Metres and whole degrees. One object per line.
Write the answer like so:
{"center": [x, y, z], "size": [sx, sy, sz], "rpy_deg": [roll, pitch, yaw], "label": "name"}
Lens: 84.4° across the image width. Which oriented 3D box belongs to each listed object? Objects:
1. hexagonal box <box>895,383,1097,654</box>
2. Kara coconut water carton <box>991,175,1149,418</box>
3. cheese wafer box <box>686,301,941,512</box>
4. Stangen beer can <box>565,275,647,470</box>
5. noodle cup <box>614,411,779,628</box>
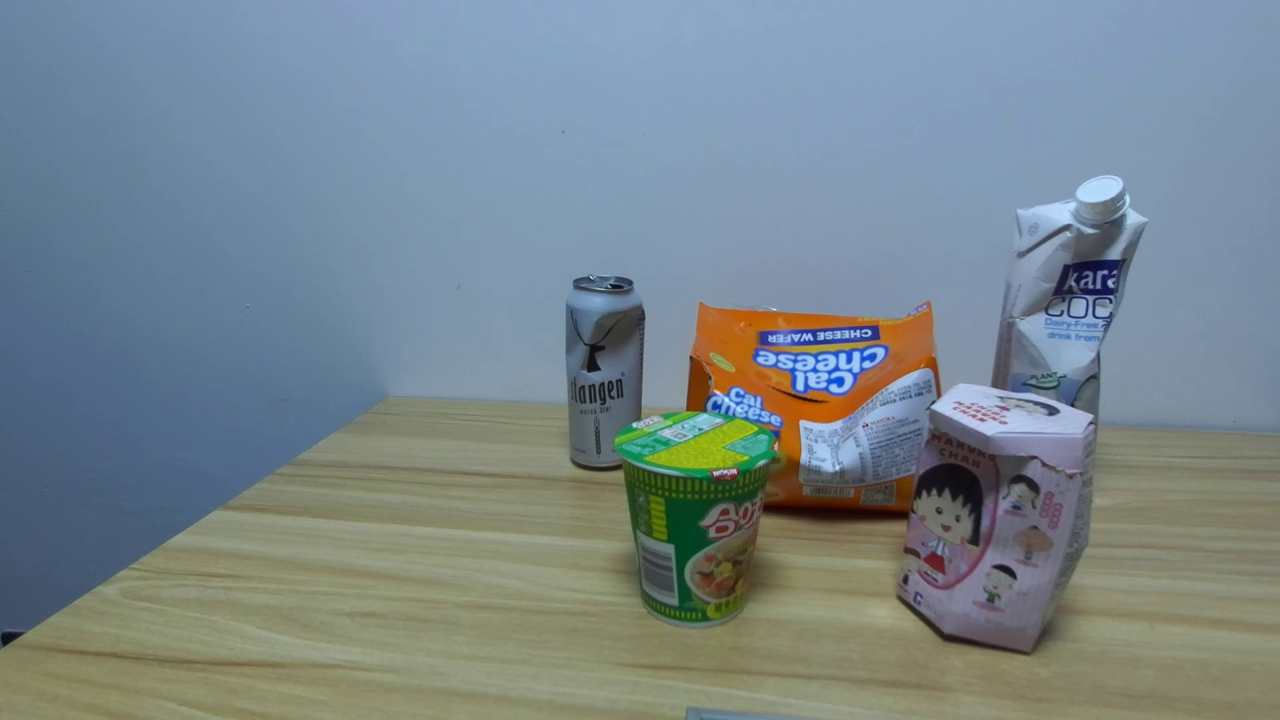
{"center": [0.212, 0.091, 0.425], "size": [0.090, 0.134, 0.091], "rpy_deg": [9, 17, 19], "label": "hexagonal box"}
{"center": [0.331, -0.016, 0.563], "size": [0.083, 0.255, 0.078], "rpy_deg": [1, 20, 9], "label": "Kara coconut water carton"}
{"center": [0.147, 0.035, 0.598], "size": [0.219, 0.145, 0.191], "rpy_deg": [3, 16, 9], "label": "cheese wafer box"}
{"center": [-0.032, 0.010, 0.637], "size": [0.070, 0.173, 0.069], "rpy_deg": [3, 17, 8], "label": "Stangen beer can"}
{"center": [0.033, 0.099, 0.436], "size": [0.097, 0.110, 0.097], "rpy_deg": [1, 16, 0], "label": "noodle cup"}
